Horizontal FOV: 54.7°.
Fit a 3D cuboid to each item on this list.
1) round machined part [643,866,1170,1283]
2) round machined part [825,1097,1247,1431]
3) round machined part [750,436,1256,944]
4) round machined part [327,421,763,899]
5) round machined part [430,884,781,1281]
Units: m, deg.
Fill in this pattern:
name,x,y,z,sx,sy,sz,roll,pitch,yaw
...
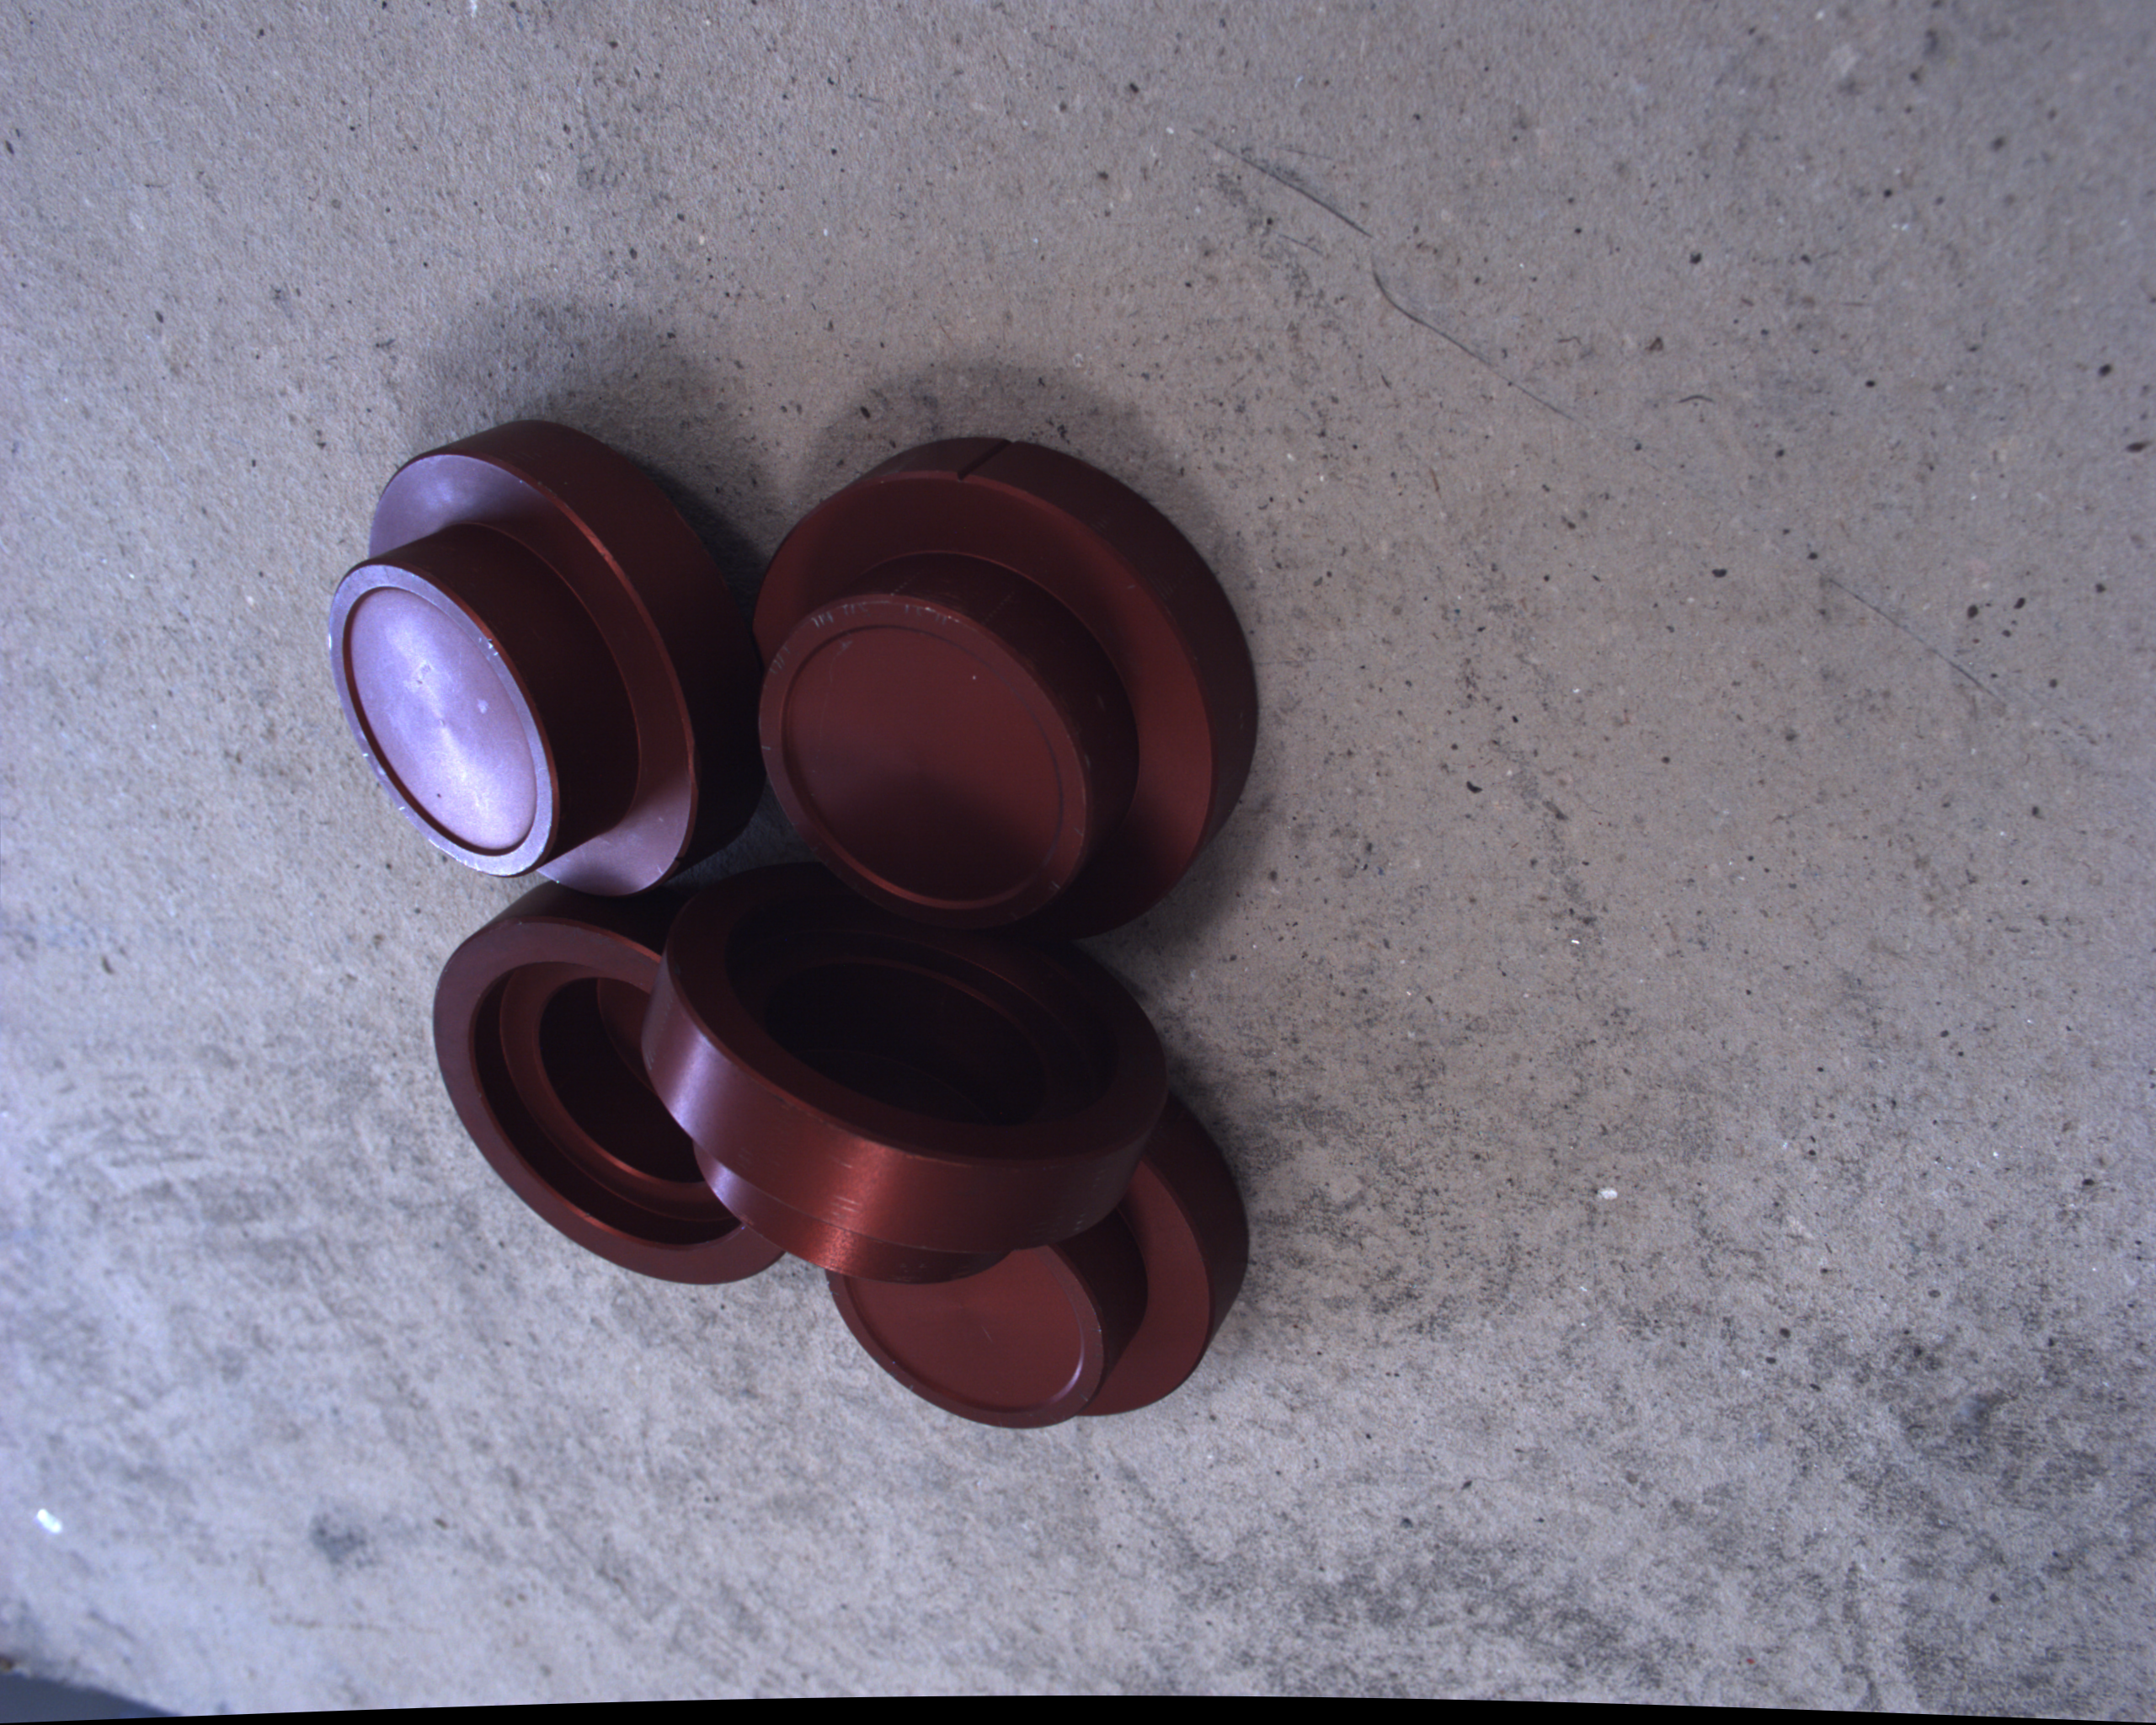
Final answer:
name,x,y,z,sx,sy,sz,roll,pitch,yaw
round machined part,-0.035,0.043,0.403,0.098,0.098,0.042,26,114,12
round machined part,-0.016,0.085,0.458,0.098,0.042,0.097,12,122,21
round machined part,-0.020,-0.027,0.391,0.098,0.042,0.097,12,123,21
round machined part,-0.112,-0.036,0.421,0.098,0.042,0.097,23,130,31
round machined part,-0.094,0.044,0.474,0.098,0.042,0.097,13,126,20
